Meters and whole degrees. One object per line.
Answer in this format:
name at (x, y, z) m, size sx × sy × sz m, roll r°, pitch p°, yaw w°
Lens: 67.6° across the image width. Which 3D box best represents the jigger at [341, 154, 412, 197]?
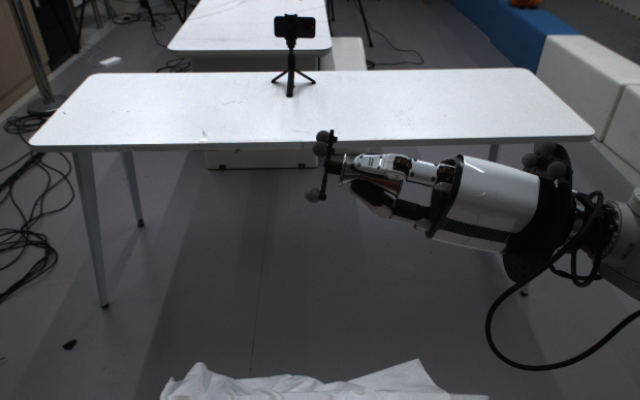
jigger at (0.065, -0.032, 0.551) m, size 0.071 × 0.043 × 0.043 m, roll 10°, pitch 35°, yaw 2°
